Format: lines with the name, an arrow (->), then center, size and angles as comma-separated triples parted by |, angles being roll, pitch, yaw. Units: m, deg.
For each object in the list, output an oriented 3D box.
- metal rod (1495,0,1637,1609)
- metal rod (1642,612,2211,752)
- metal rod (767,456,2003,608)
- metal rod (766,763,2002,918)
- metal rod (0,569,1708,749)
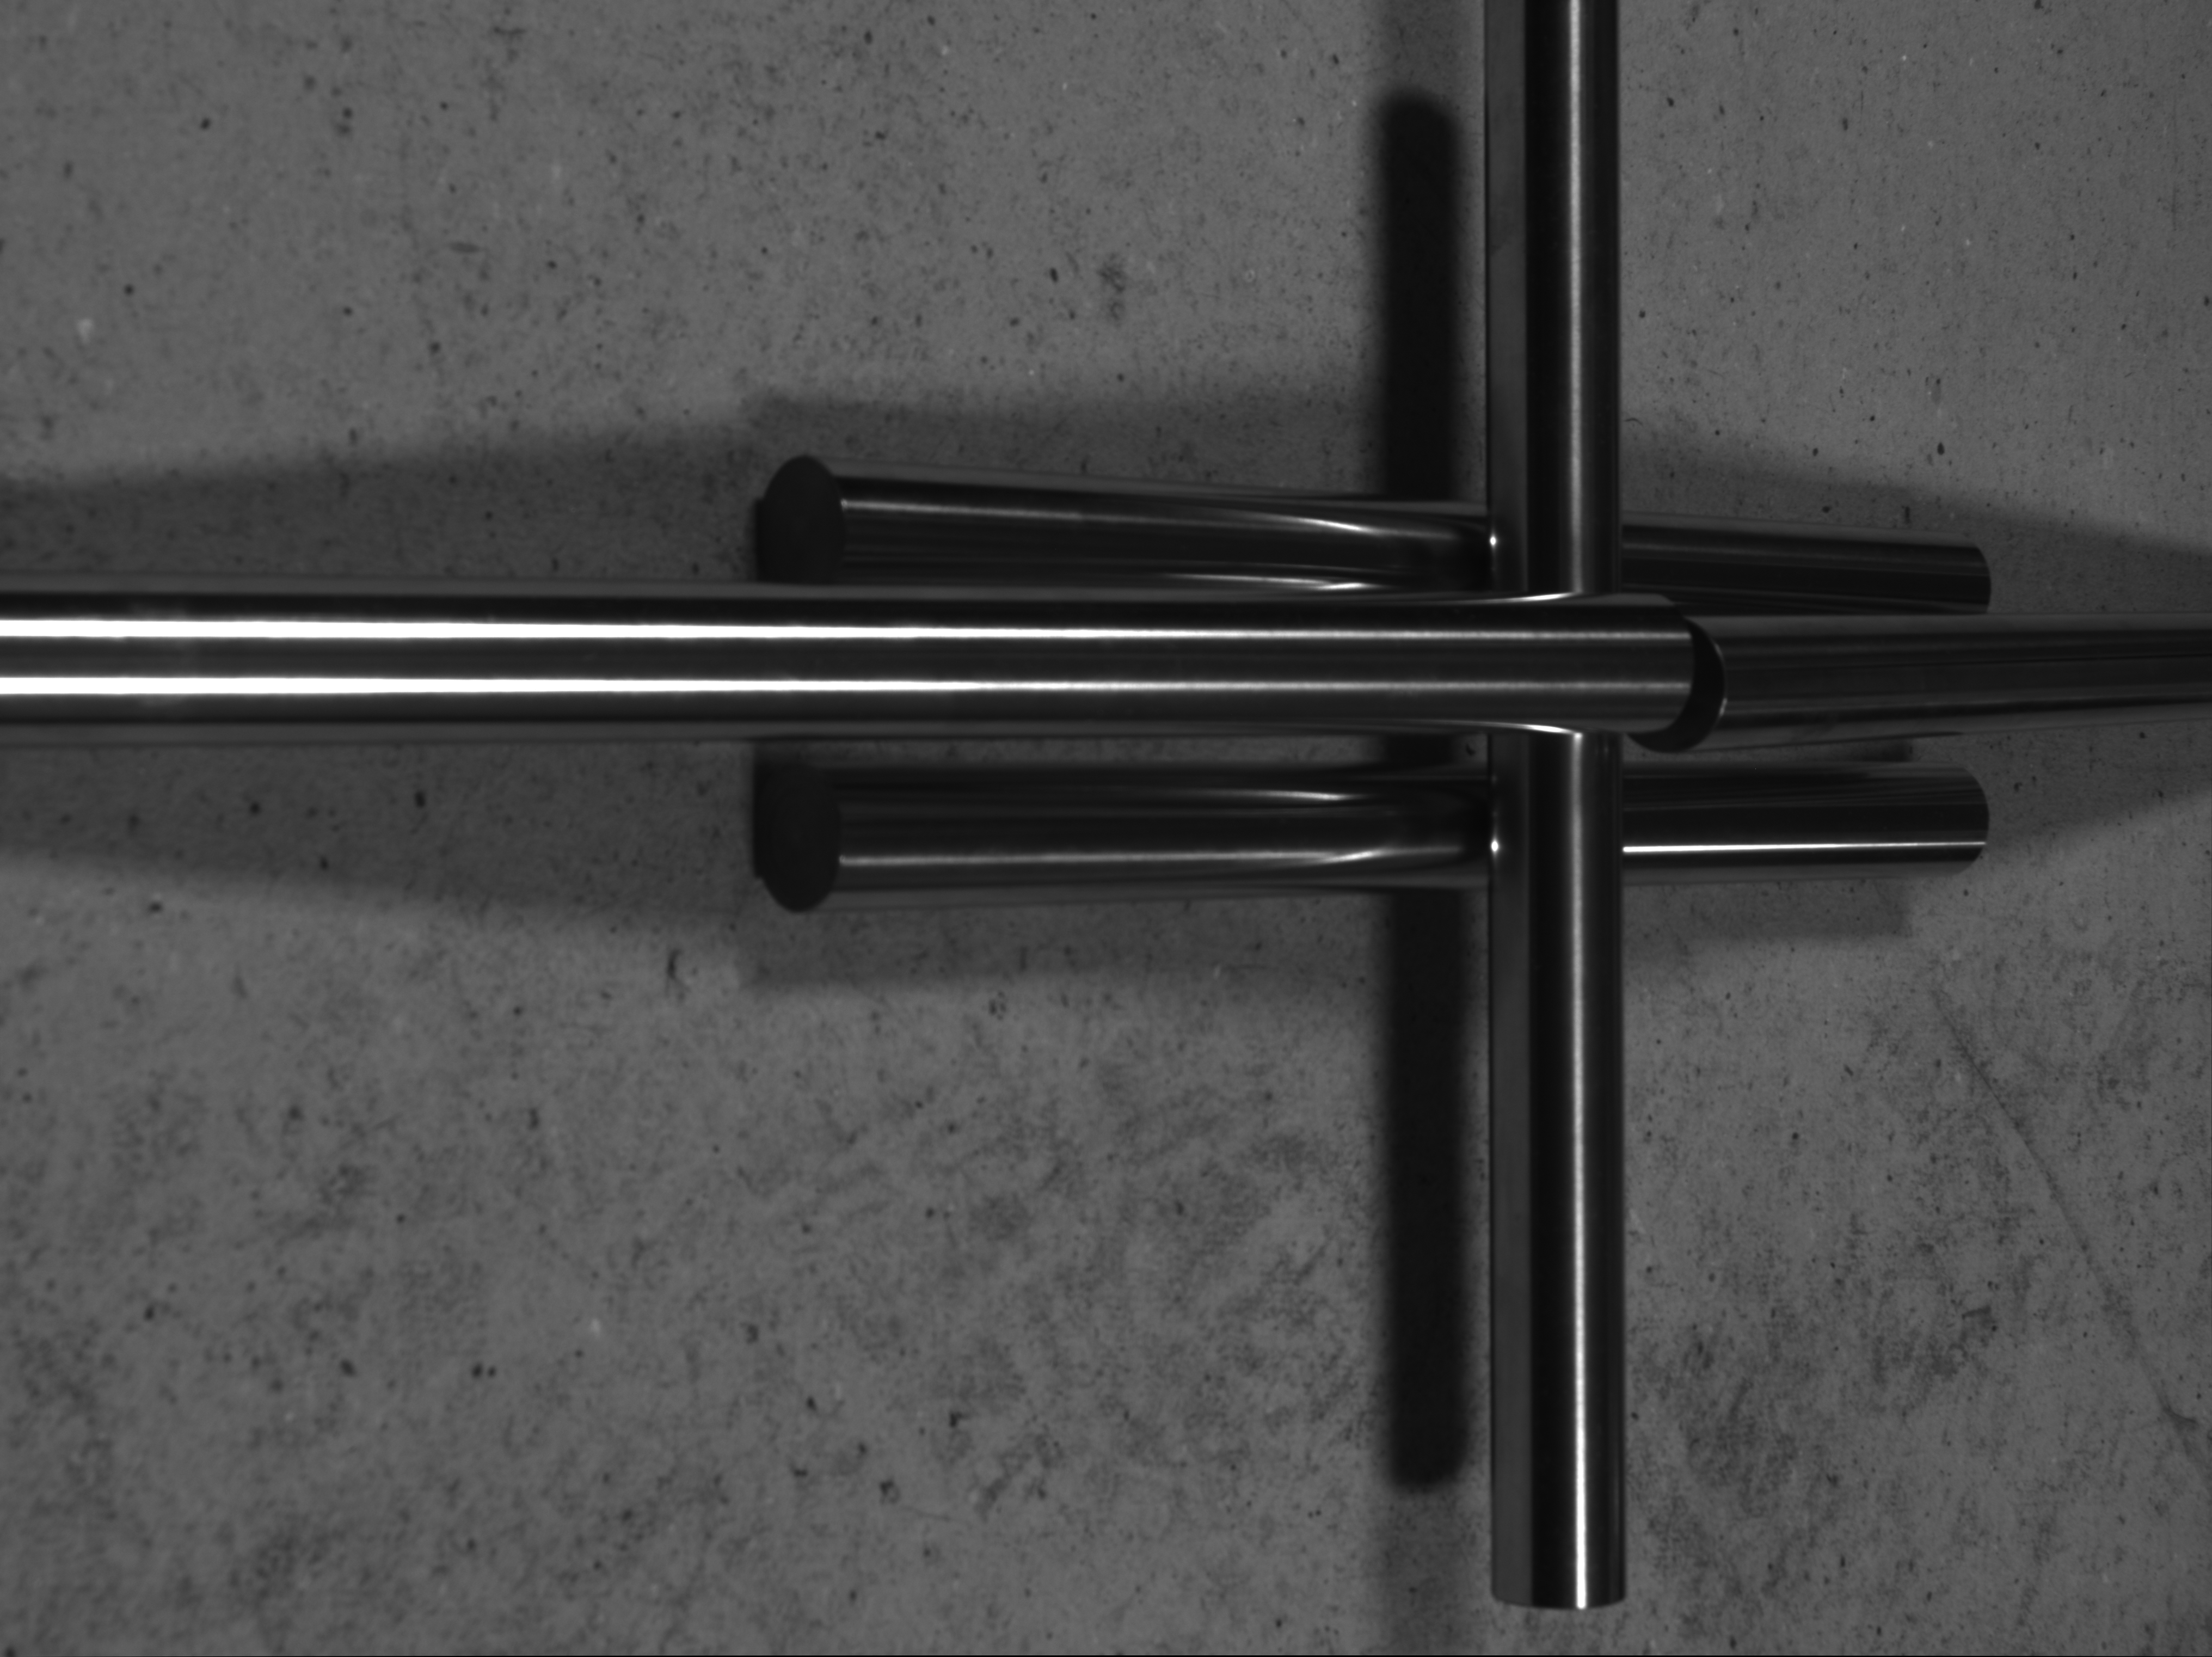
metal rod -> 0.085, -0.009, 0.676 | 0.025, 0.025, 0.300 | 0, 90, -40
metal rod -> 0.200, -0.034, 0.771 | 0.301, 0.025, 0.025 | -4, 93, -50
metal rod -> 0.067, -0.050, 0.693 | 0.301, 0.025, 0.025 | -1, 91, -40
metal rod -> 0.067, 0.000, 0.693 | 0.301, 0.025, 0.025 | -1, 91, -40
metal rod -> -0.030, -0.026, 0.580 | 0.301, 0.025, 0.025 | -1, 91, -30
